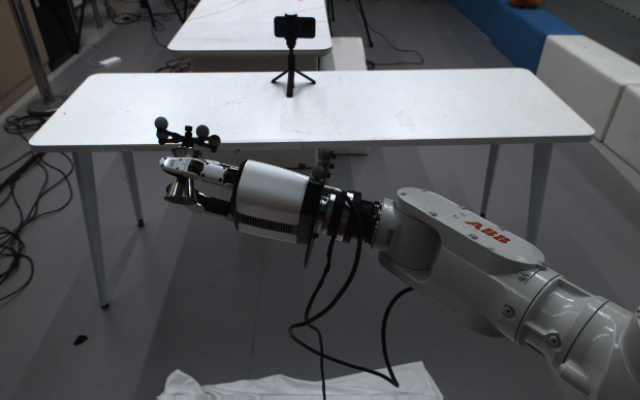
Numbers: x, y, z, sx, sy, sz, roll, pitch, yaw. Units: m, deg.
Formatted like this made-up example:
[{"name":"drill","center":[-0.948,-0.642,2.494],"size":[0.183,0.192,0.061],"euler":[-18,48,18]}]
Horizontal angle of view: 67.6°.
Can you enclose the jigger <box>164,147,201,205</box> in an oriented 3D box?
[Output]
[{"name":"jigger","center":[-0.180,-0.032,0.636],"size":[0.043,0.043,0.071],"euler":[3,77,1]}]
